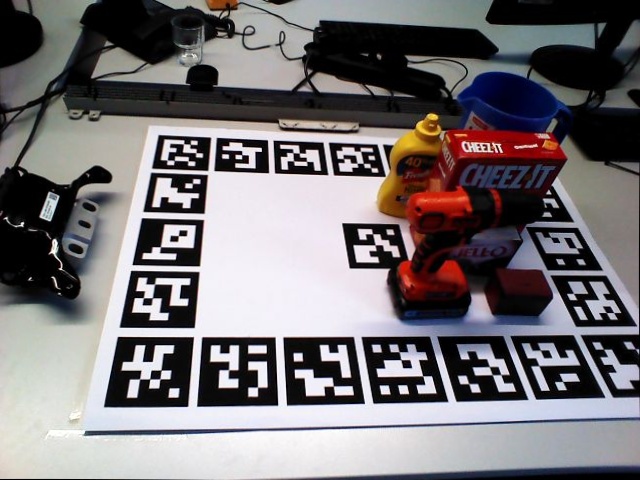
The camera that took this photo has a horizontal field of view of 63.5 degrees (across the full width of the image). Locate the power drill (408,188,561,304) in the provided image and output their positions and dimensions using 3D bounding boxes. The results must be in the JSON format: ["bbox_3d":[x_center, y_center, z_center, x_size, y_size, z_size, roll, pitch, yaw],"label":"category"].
[{"bbox_3d":[0.205,0.009,0.694,0.184,0.188,0.057,1,45,-8],"label":"power drill"}]

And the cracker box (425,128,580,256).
[{"bbox_3d":[0.265,-0.062,0.786,0.164,0.214,0.071,-2,47,-6],"label":"cracker box"}]

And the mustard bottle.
[{"bbox_3d":[0.172,-0.136,0.847,0.096,0.192,0.058,11,49,2],"label":"mustard bottle"}]

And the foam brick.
[{"bbox_3d":[0.313,0.080,0.782,0.078,0.051,0.052,3,50,-5],"label":"foam brick"}]

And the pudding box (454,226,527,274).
[{"bbox_3d":[0.255,0.010,0.793,0.114,0.090,0.038,0,47,-4],"label":"pudding box"}]

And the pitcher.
[{"bbox_3d":[0.306,-0.141,0.854,0.189,0.243,0.132,5,48,-1],"label":"pitcher"}]
